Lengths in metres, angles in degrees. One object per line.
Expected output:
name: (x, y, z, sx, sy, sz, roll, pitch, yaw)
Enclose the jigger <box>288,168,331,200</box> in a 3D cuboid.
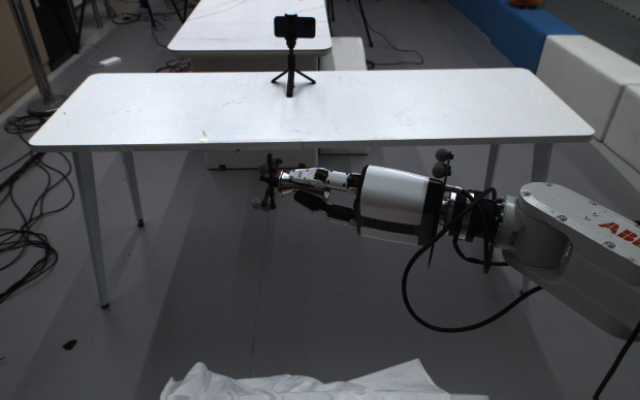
jigger: (-0.015, -0.026, 0.695, 0.071, 0.043, 0.043, 5, 34, 13)
